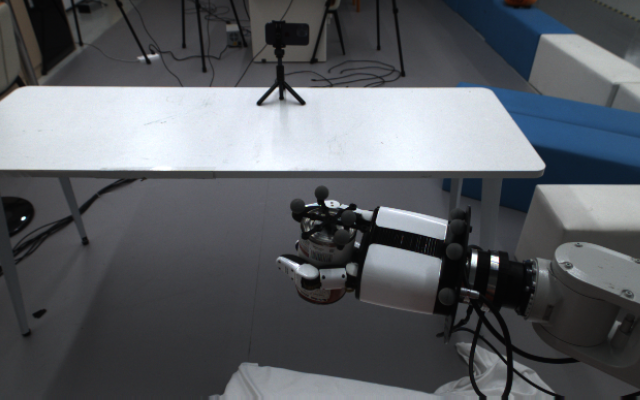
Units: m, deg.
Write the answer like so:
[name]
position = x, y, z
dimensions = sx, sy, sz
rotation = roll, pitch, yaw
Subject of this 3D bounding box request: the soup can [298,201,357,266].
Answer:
[soup can]
position = 0.007, 0.068, 0.589
dimensions = 0.067, 0.101, 0.067
rotation = 5, 37, -4
